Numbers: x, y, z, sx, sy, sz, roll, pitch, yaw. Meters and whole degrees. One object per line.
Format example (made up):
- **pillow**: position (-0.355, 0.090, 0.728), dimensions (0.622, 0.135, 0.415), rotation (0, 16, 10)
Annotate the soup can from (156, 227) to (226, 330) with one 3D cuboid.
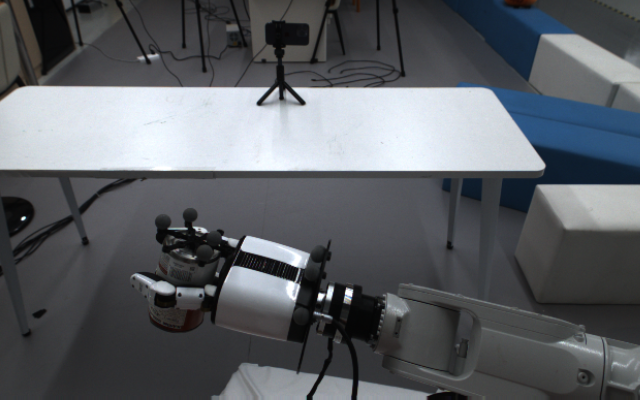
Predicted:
- **soup can**: position (-0.158, 0.096, 0.569), dimensions (0.067, 0.101, 0.067), rotation (17, 21, -7)
